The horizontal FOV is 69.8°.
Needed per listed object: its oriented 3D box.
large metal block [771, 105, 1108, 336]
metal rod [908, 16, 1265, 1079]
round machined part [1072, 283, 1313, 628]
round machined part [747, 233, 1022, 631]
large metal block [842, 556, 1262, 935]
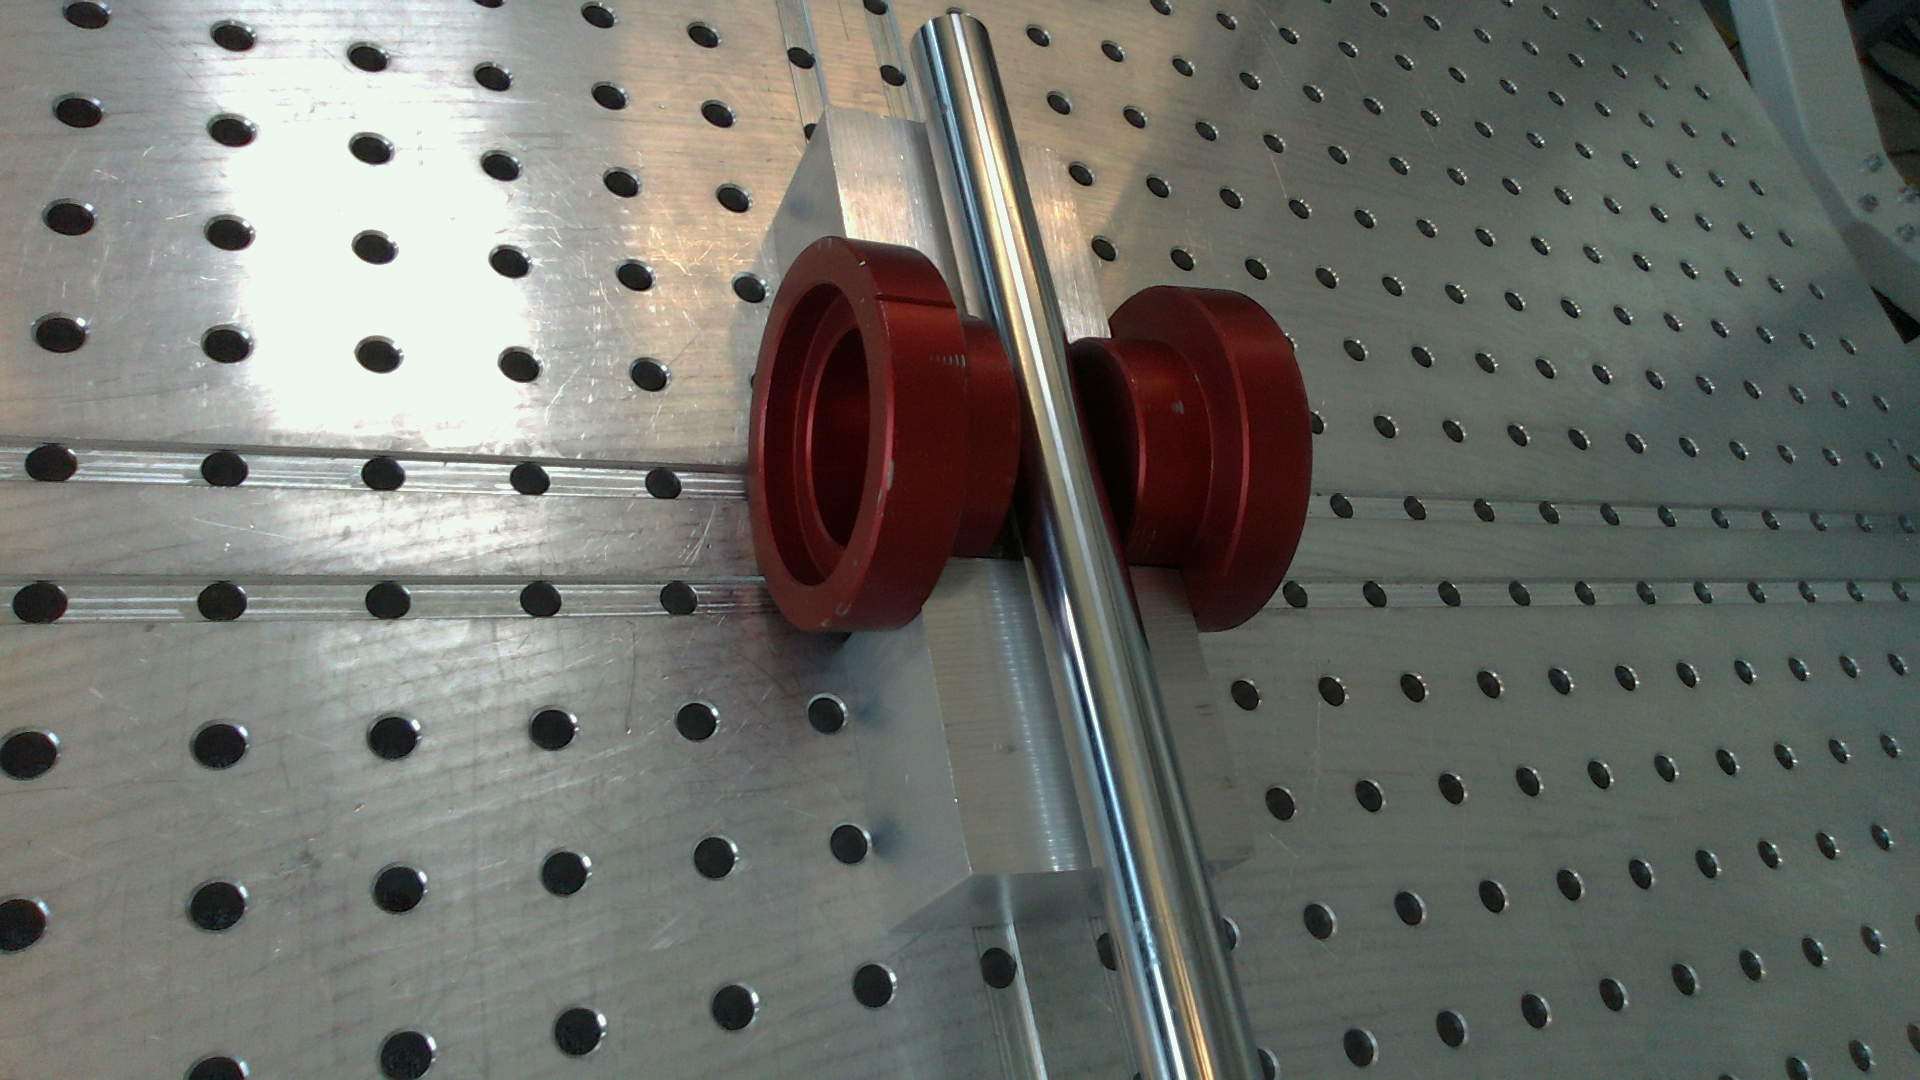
[{"bbox_3d":[-0.007,-0.078,0.420,0.080,0.050,0.080,2,61,-27],"label":"large metal block"},{"bbox_3d":[0.024,-0.017,0.351,0.025,0.025,0.300,3,61,-27],"label":"metal rod"},{"bbox_3d":[0.052,-0.023,0.387,0.042,0.098,0.098,-1,62,-23],"label":"round machined part"},{"bbox_3d":[-0.019,-0.026,0.350,0.042,0.098,0.098,2,61,-27],"label":"round machined part"},{"bbox_3d":[0.021,0.052,0.355,0.080,0.050,0.080,3,60,-27],"label":"large metal block"}]
